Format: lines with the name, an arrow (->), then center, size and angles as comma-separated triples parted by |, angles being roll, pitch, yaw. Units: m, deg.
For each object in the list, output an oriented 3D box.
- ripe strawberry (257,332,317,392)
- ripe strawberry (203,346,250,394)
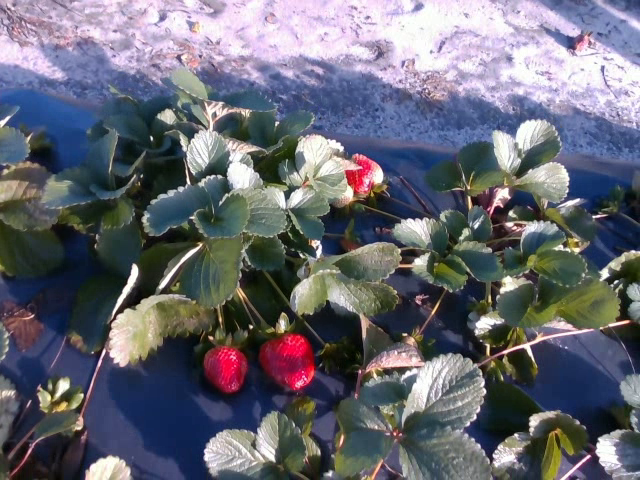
ripe strawberry -> -0.024, 0.107, 0.513 | 0.052, 0.058, 0.046 | -29, -44, 0
ripe strawberry -> -0.078, 0.110, 0.501 | 0.052, 0.043, 0.037 | 53, 1, 41
